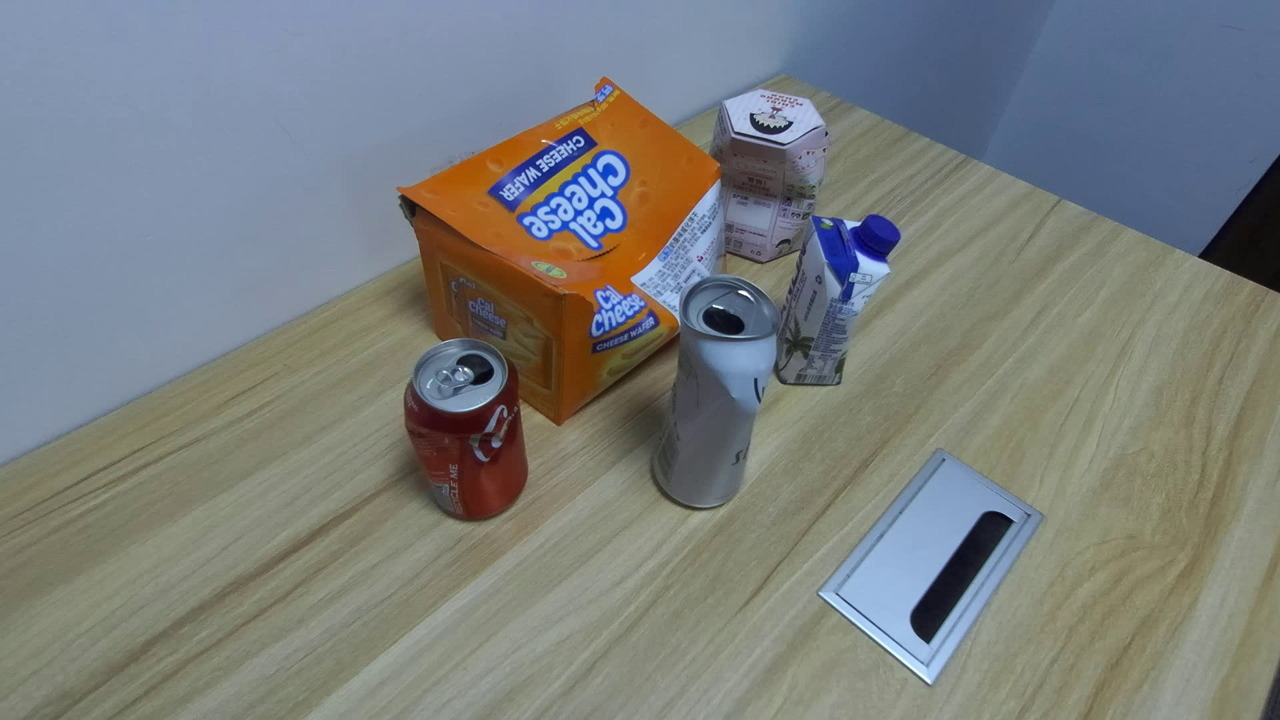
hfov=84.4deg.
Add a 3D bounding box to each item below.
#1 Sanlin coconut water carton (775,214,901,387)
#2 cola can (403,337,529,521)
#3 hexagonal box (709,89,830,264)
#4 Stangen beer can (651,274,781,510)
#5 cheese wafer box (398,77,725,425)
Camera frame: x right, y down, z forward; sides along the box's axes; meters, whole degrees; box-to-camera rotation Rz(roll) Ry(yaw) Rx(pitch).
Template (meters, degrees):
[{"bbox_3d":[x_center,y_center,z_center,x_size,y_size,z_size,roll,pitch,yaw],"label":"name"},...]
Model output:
[{"bbox_3d":[0.141,-0.045,0.525,0.058,0.142,0.078,4,47,-7],"label":"Sanlin coconut water carton"},{"bbox_3d":[-0.108,0.046,0.449,0.066,0.117,0.066,2,47,-1],"label":"cola can"},{"bbox_3d":[0.110,-0.159,0.630,0.090,0.134,0.091,-21,53,-17],"label":"hexagonal box"},{"bbox_3d":[0.046,0.025,0.442,0.077,0.162,0.066,29,53,19],"label":"Stangen beer can"},{"bbox_3d":[-0.033,-0.088,0.552,0.190,0.145,0.219,32,54,24],"label":"cheese wafer box"}]
